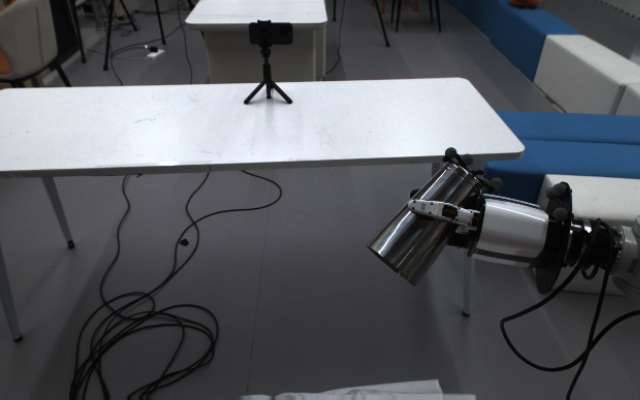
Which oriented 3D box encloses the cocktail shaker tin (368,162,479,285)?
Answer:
[{"bbox_3d":[0.158,0.027,0.706,0.170,0.093,0.093,-48,49,-3],"label":"cocktail shaker tin"}]
